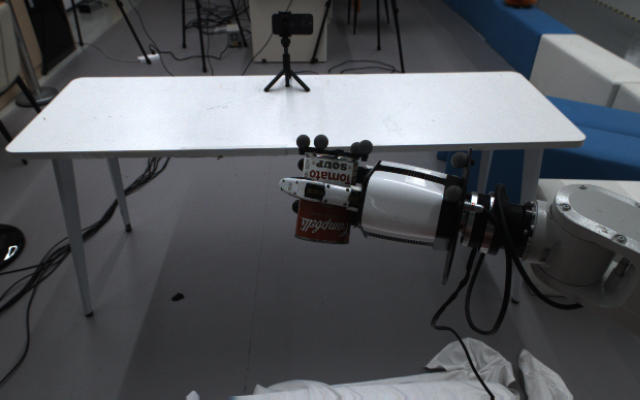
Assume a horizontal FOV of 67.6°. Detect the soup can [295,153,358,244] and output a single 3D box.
[{"bbox_3d":[0.010,-0.001,0.586,0.067,0.101,0.067,7,3,0],"label":"soup can"}]
